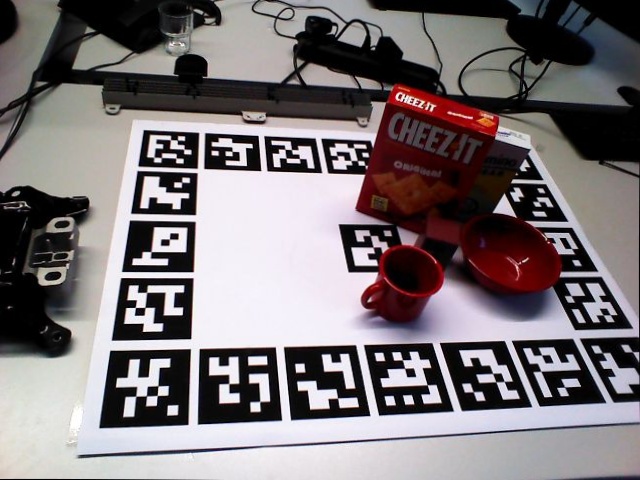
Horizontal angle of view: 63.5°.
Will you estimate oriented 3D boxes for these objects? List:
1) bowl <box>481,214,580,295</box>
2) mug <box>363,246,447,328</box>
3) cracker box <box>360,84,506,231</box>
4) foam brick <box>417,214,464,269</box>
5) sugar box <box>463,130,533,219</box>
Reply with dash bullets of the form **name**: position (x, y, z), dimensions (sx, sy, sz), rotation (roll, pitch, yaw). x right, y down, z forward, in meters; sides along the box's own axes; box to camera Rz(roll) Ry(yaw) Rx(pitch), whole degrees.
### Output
- **bowl**: position (0.310, 0.032, 0.802), dimensions (0.162, 0.055, 0.160), rotation (5, 49, -6)
- **mug**: position (0.116, 0.070, 0.722), dimensions (0.117, 0.082, 0.093), rotation (-7, 42, -15)
- **cracker box**: position (0.170, -0.114, 0.814), dimensions (0.164, 0.215, 0.071), rotation (23, 46, 9)
- **foam brick**: position (0.185, 0.009, 0.804), dimensions (0.053, 0.078, 0.051), rotation (12, 47, 1)
- **sugar box**: position (0.275, -0.111, 0.855), dimensions (0.093, 0.177, 0.045), rotation (17, 47, 4)
